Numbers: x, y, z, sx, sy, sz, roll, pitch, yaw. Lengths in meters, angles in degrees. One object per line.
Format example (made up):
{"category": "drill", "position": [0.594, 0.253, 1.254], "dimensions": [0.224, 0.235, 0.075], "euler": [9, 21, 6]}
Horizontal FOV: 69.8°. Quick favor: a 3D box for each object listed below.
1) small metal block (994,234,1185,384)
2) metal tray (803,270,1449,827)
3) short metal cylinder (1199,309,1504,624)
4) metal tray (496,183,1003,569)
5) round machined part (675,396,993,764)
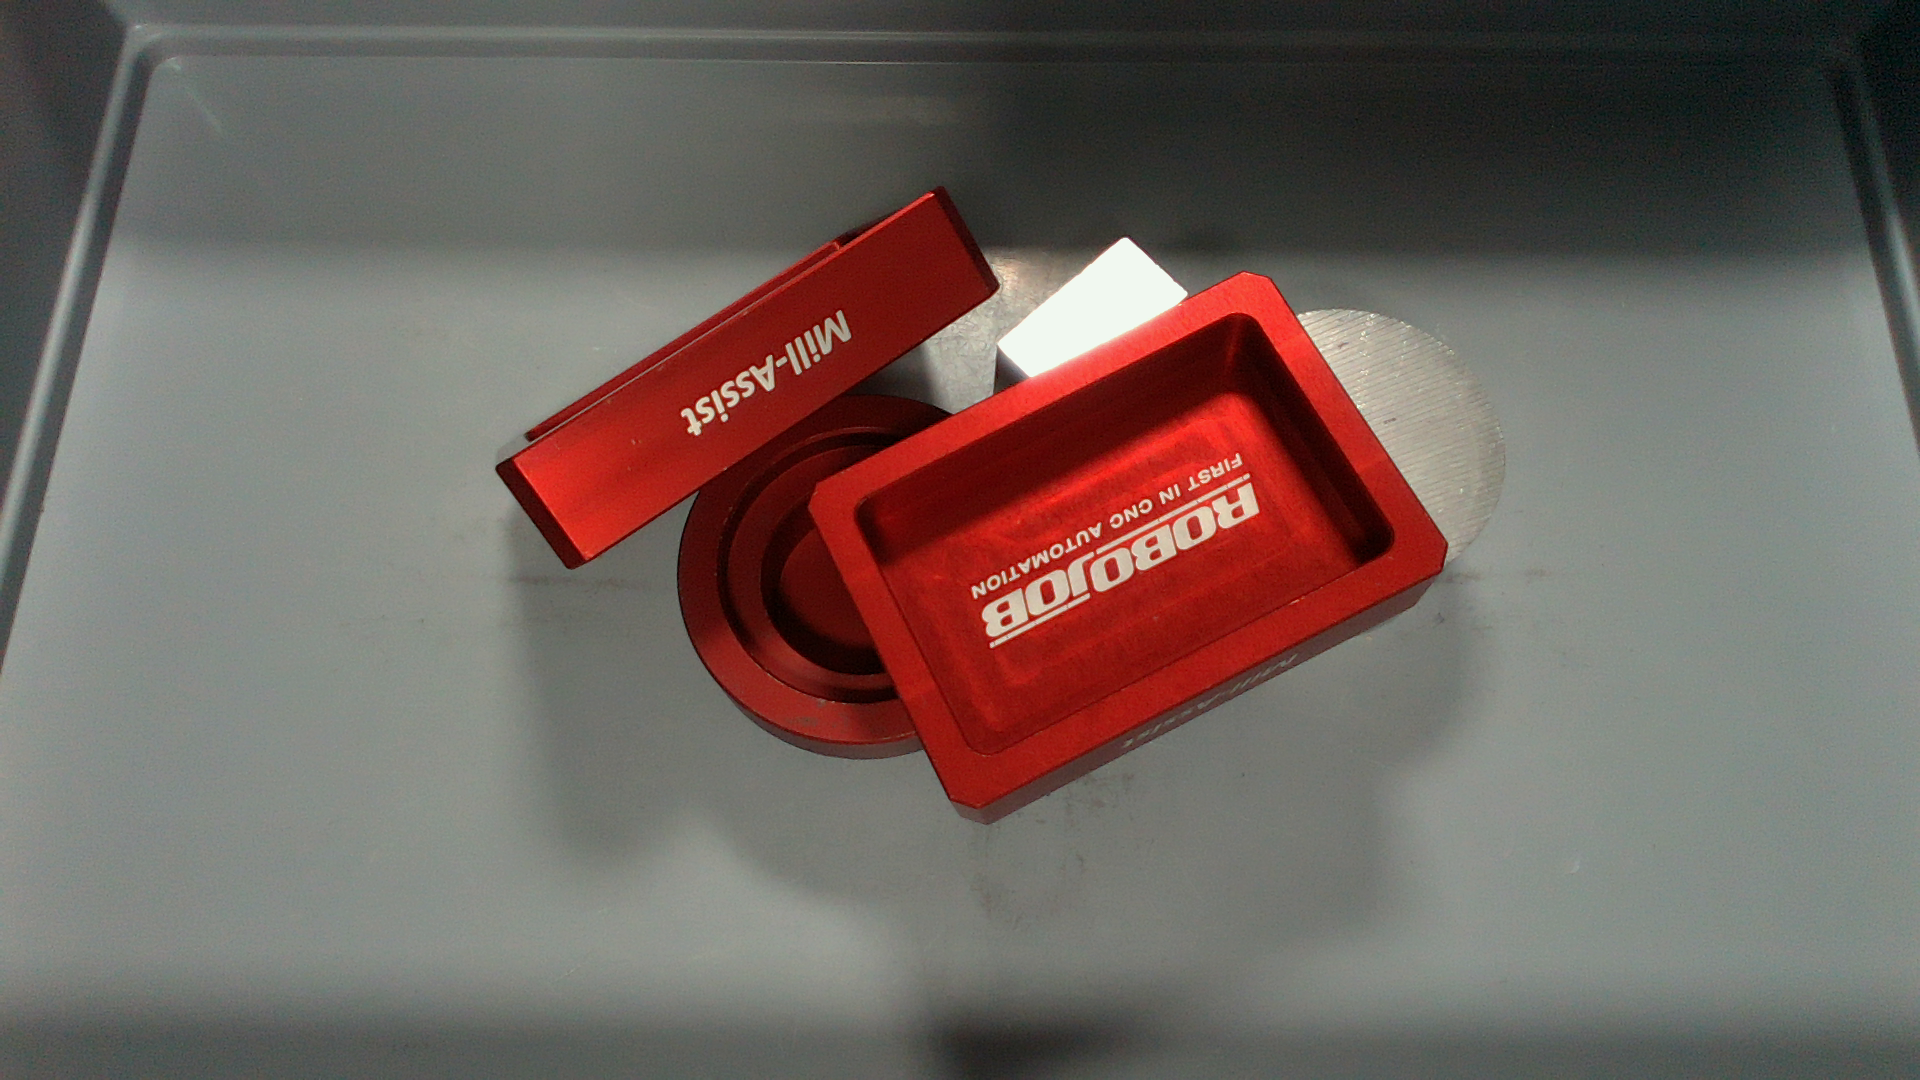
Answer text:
{"category": "small metal block", "position": [0.036, -0.052, 0.399], "dimensions": [0.050, 0.050, 0.025], "euler": [-41, 75, -15]}
{"category": "metal tray", "position": [0.039, 0.001, 0.340], "dimensions": [0.130, 0.030, 0.090], "euler": [-27, 71, -5]}
{"category": "short metal cylinder", "position": [0.103, -0.017, 0.386], "dimensions": [0.080, 0.050, 0.080], "euler": [0, 70, 0]}
{"category": "metal tray", "position": [-0.061, -0.045, 0.373], "dimensions": [0.130, 0.090, 0.030], "euler": [-35, 105, -12]}
{"category": "round machined part", "position": [-0.026, 0.013, 0.381], "dimensions": [0.098, 0.042, 0.098], "euler": [0, 70, 0]}
